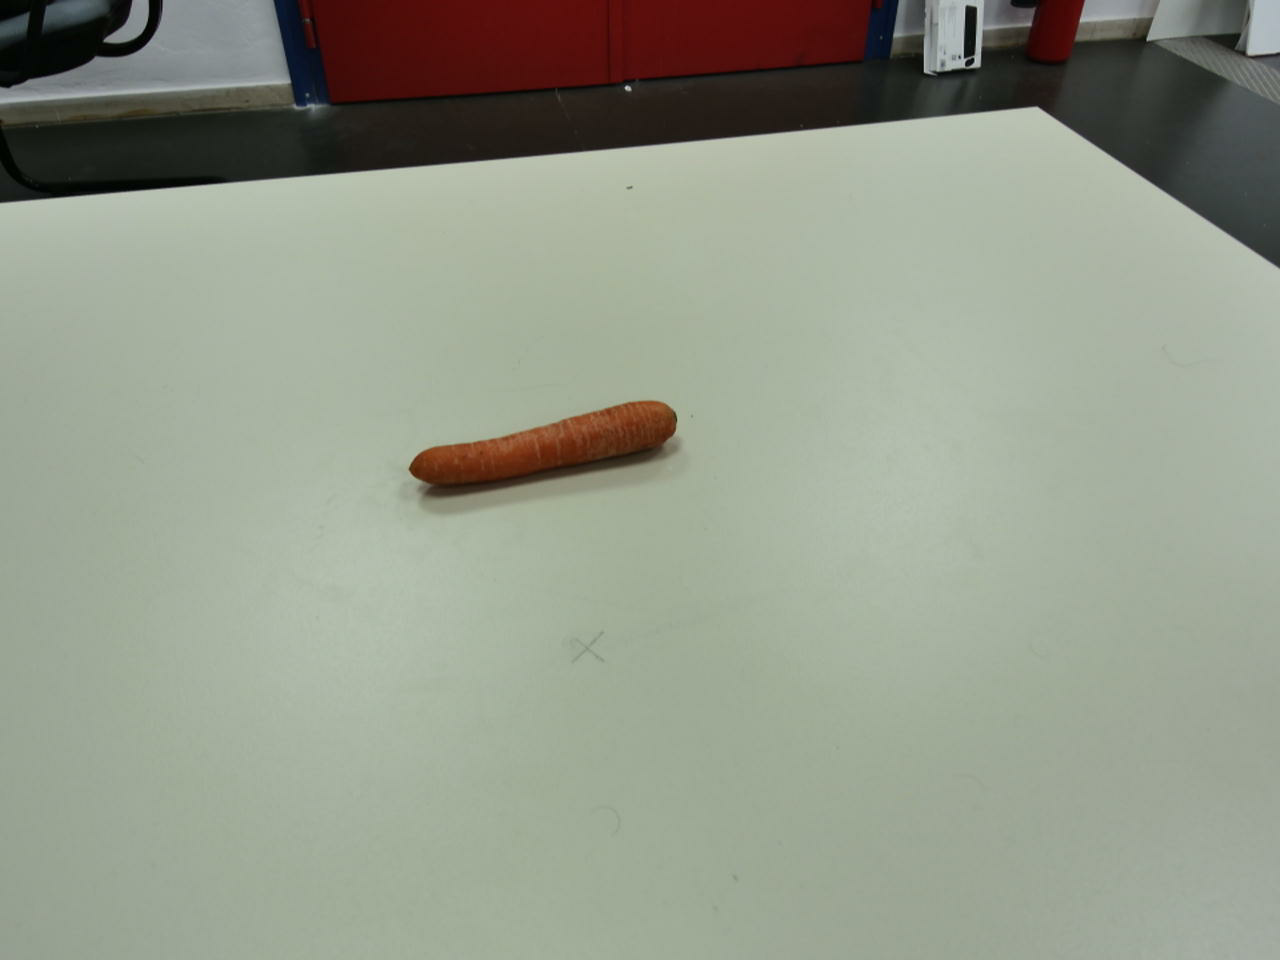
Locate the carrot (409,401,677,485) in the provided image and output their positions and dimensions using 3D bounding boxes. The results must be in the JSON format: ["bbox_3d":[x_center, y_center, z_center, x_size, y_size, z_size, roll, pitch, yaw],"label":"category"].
[{"bbox_3d":[-0.041,-0.016,0.449,0.122,0.023,0.024,-10,39,-13],"label":"carrot"}]
